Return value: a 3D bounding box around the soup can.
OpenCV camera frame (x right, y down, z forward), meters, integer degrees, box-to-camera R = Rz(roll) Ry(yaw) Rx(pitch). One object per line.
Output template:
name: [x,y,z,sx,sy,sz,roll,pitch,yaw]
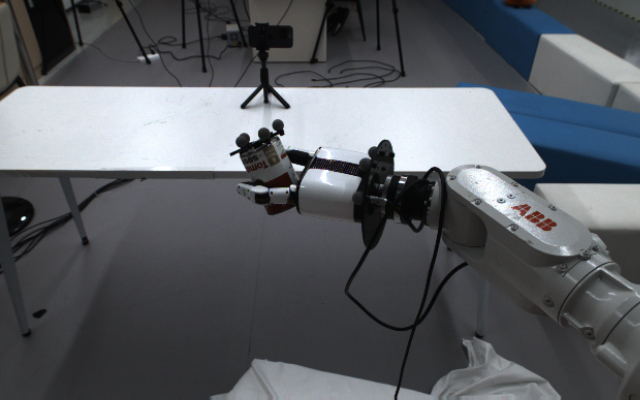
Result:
soup can: [-0.070,-0.036,0.737,0.067,0.101,0.067,-23,16,7]
